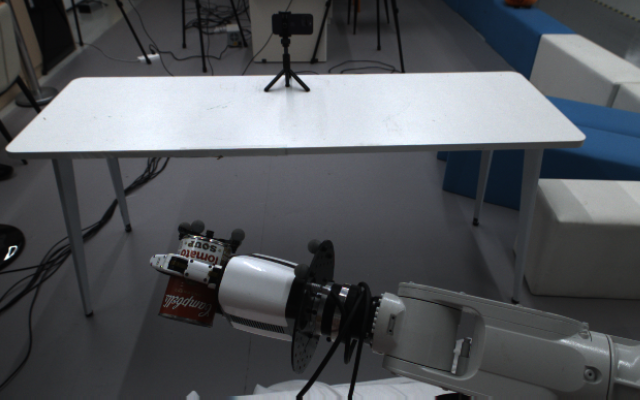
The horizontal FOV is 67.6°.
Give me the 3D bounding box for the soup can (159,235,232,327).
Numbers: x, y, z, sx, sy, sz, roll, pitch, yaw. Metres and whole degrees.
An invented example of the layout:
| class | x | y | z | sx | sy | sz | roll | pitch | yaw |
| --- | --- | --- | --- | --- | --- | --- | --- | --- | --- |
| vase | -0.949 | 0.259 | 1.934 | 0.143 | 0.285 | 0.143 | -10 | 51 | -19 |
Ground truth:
| class | x | y | z | sx | sy | sz | roll | pitch | yaw |
| --- | --- | --- | --- | --- | --- | --- | --- | --- | --- |
| soup can | -0.154 | 0.103 | 0.607 | 0.067 | 0.067 | 0.101 | 9 | 71 | 9 |
